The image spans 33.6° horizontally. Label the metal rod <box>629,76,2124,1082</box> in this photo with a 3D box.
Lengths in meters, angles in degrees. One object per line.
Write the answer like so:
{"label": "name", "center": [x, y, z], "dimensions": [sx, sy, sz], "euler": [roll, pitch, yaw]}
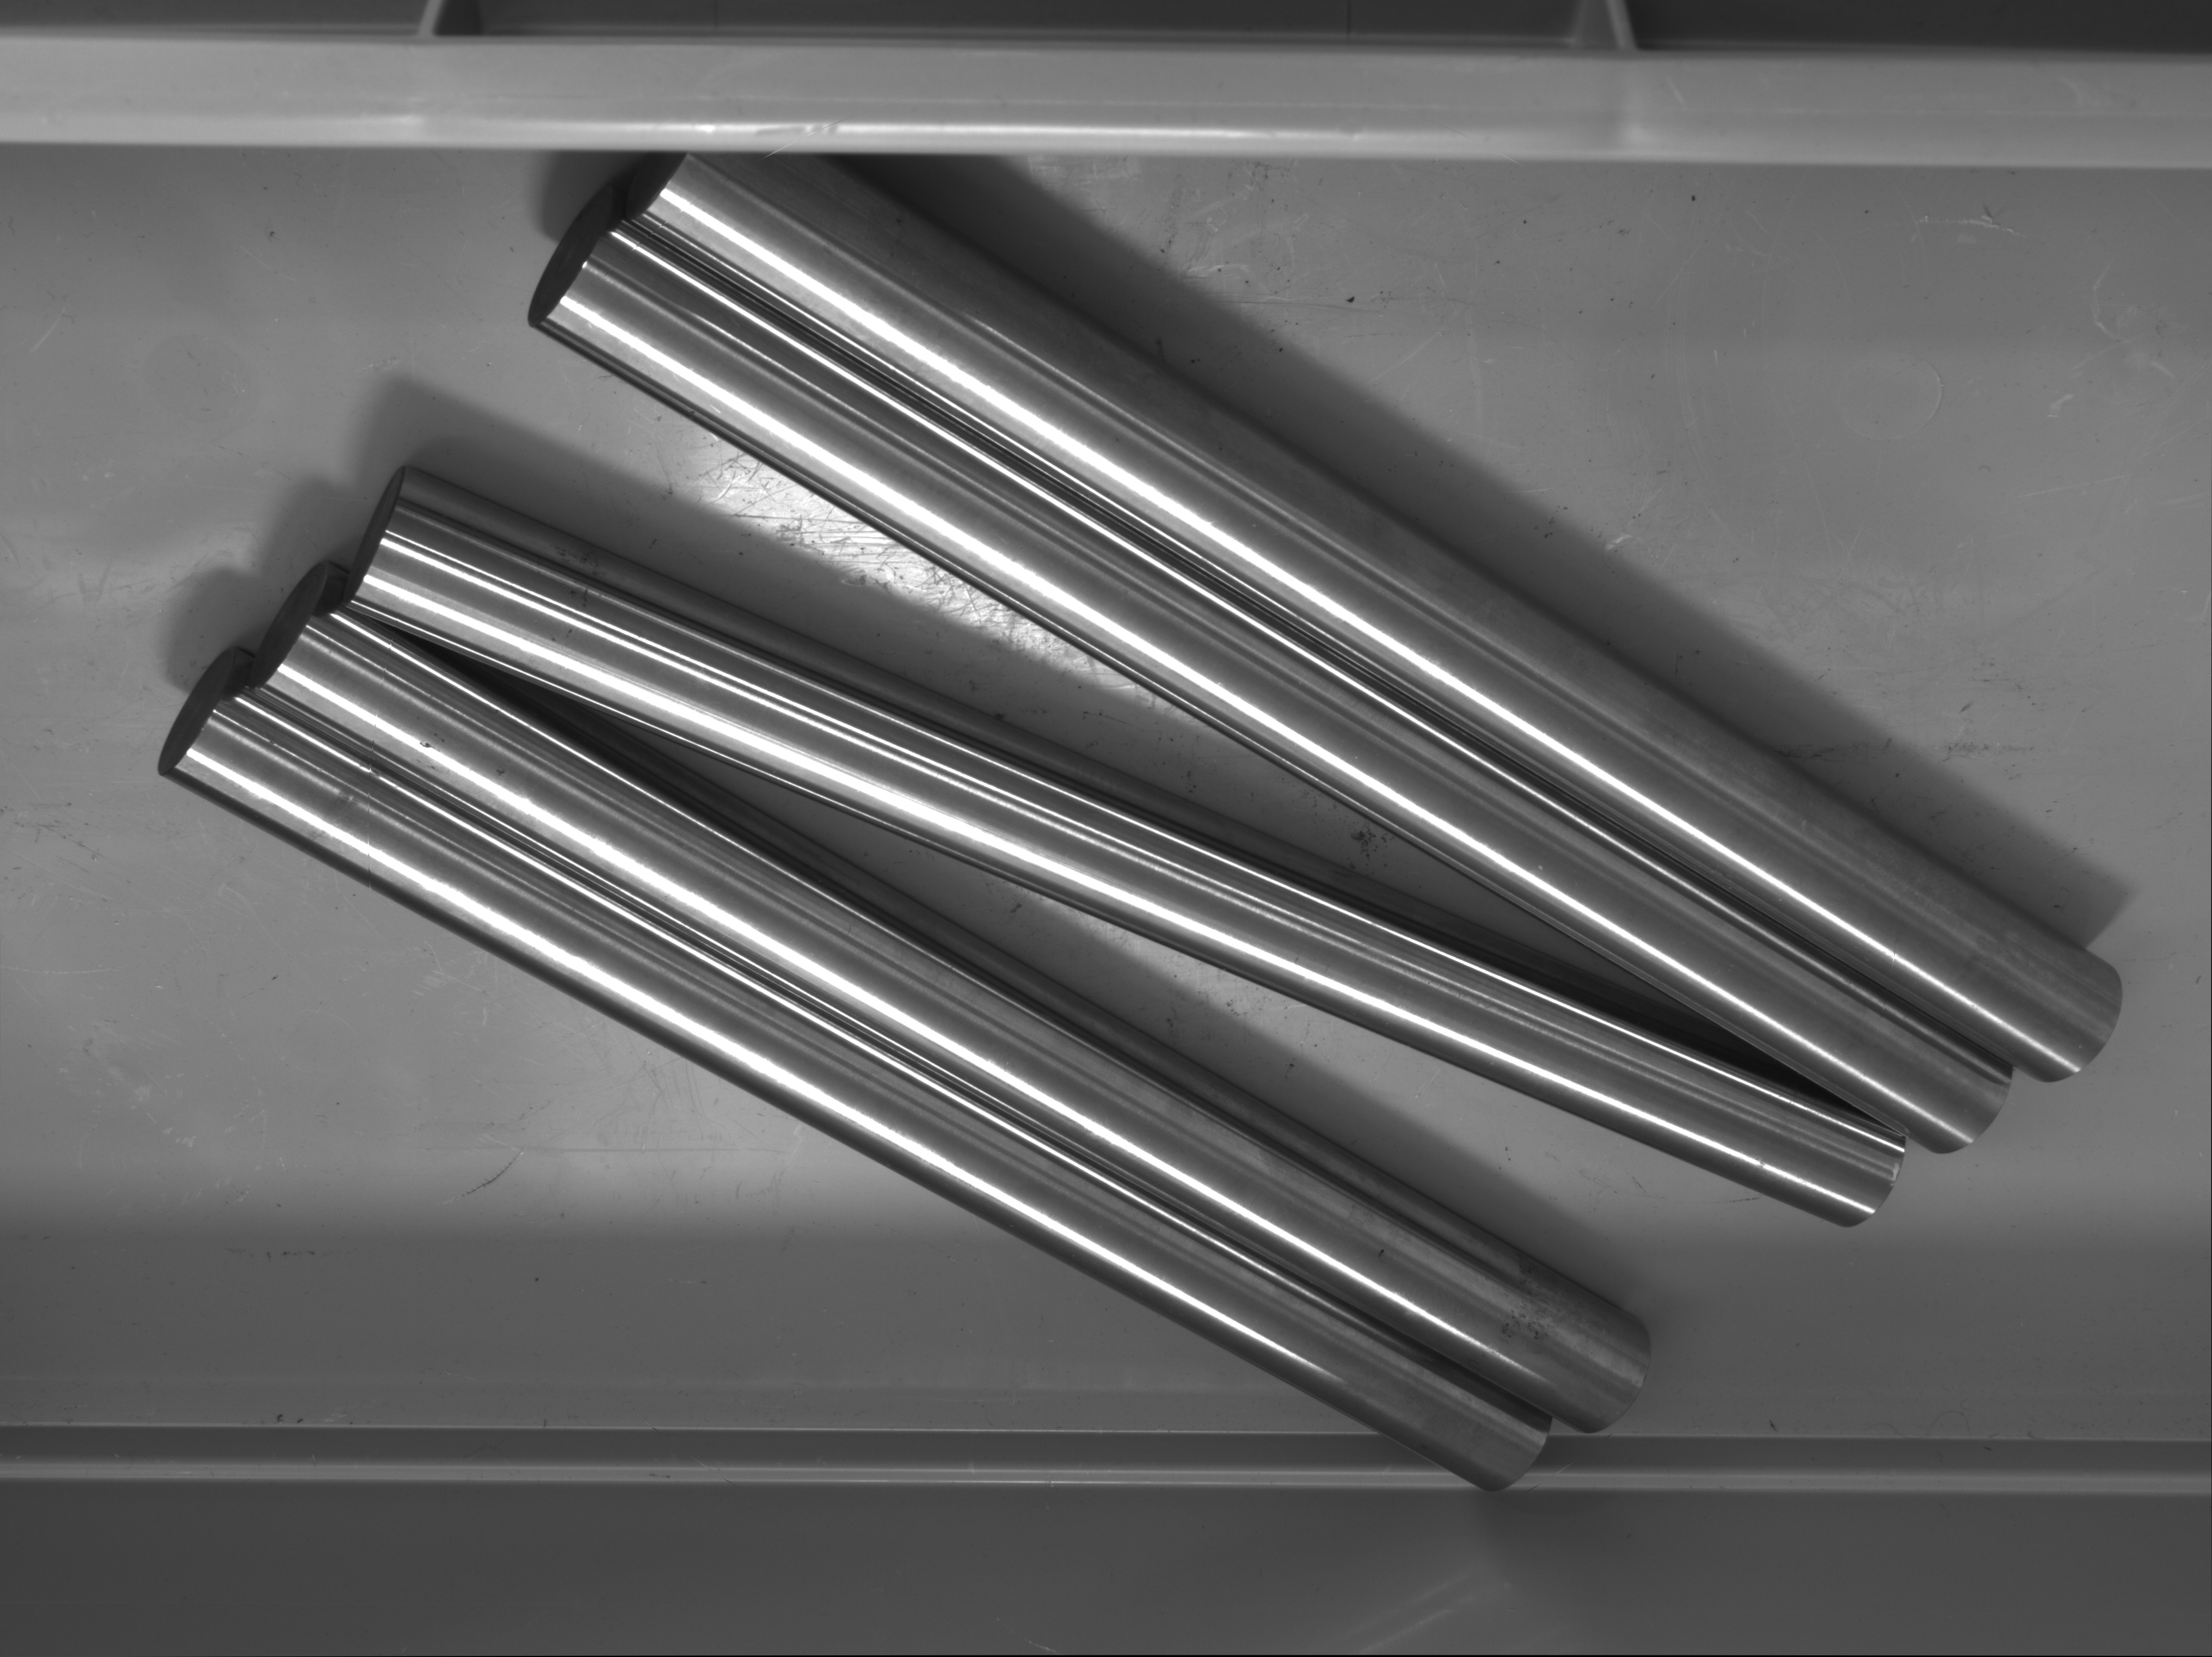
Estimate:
{"label": "metal rod", "center": [0.055, -0.034, 0.610], "dimensions": [0.301, 0.025, 0.025], "euler": [30, 124, -23]}

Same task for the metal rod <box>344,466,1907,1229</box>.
{"label": "metal rod", "center": [0.012, 0.008, 0.645], "dimensions": [0.301, 0.025, 0.025], "euler": [23, 126, -18]}

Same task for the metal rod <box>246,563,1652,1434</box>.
{"label": "metal rod", "center": [-0.018, 0.038, 0.670], "dimensions": [0.301, 0.025, 0.025], "euler": [31, 123, -24]}

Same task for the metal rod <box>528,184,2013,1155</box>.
{"label": "metal rod", "center": [0.038, -0.020, 0.622], "dimensions": [0.301, 0.025, 0.025], "euler": [30, 124, -23]}

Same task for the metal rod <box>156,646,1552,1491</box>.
{"label": "metal rod", "center": [-0.036, 0.051, 0.681], "dimensions": [0.301, 0.025, 0.025], "euler": [31, 123, -24]}
